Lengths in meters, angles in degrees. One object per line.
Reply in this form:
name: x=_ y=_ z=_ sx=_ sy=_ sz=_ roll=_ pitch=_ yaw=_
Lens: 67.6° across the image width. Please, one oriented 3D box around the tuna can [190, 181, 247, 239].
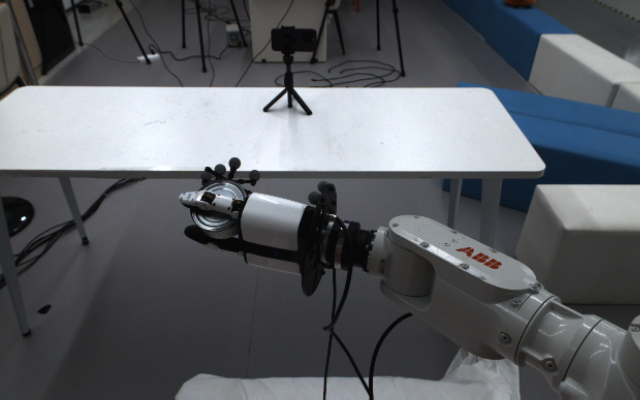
tuna can: x=-0.145 y=0.015 z=0.714 sx=0.085 sy=0.034 sz=0.085 roll=-6 pitch=60 yaw=10
